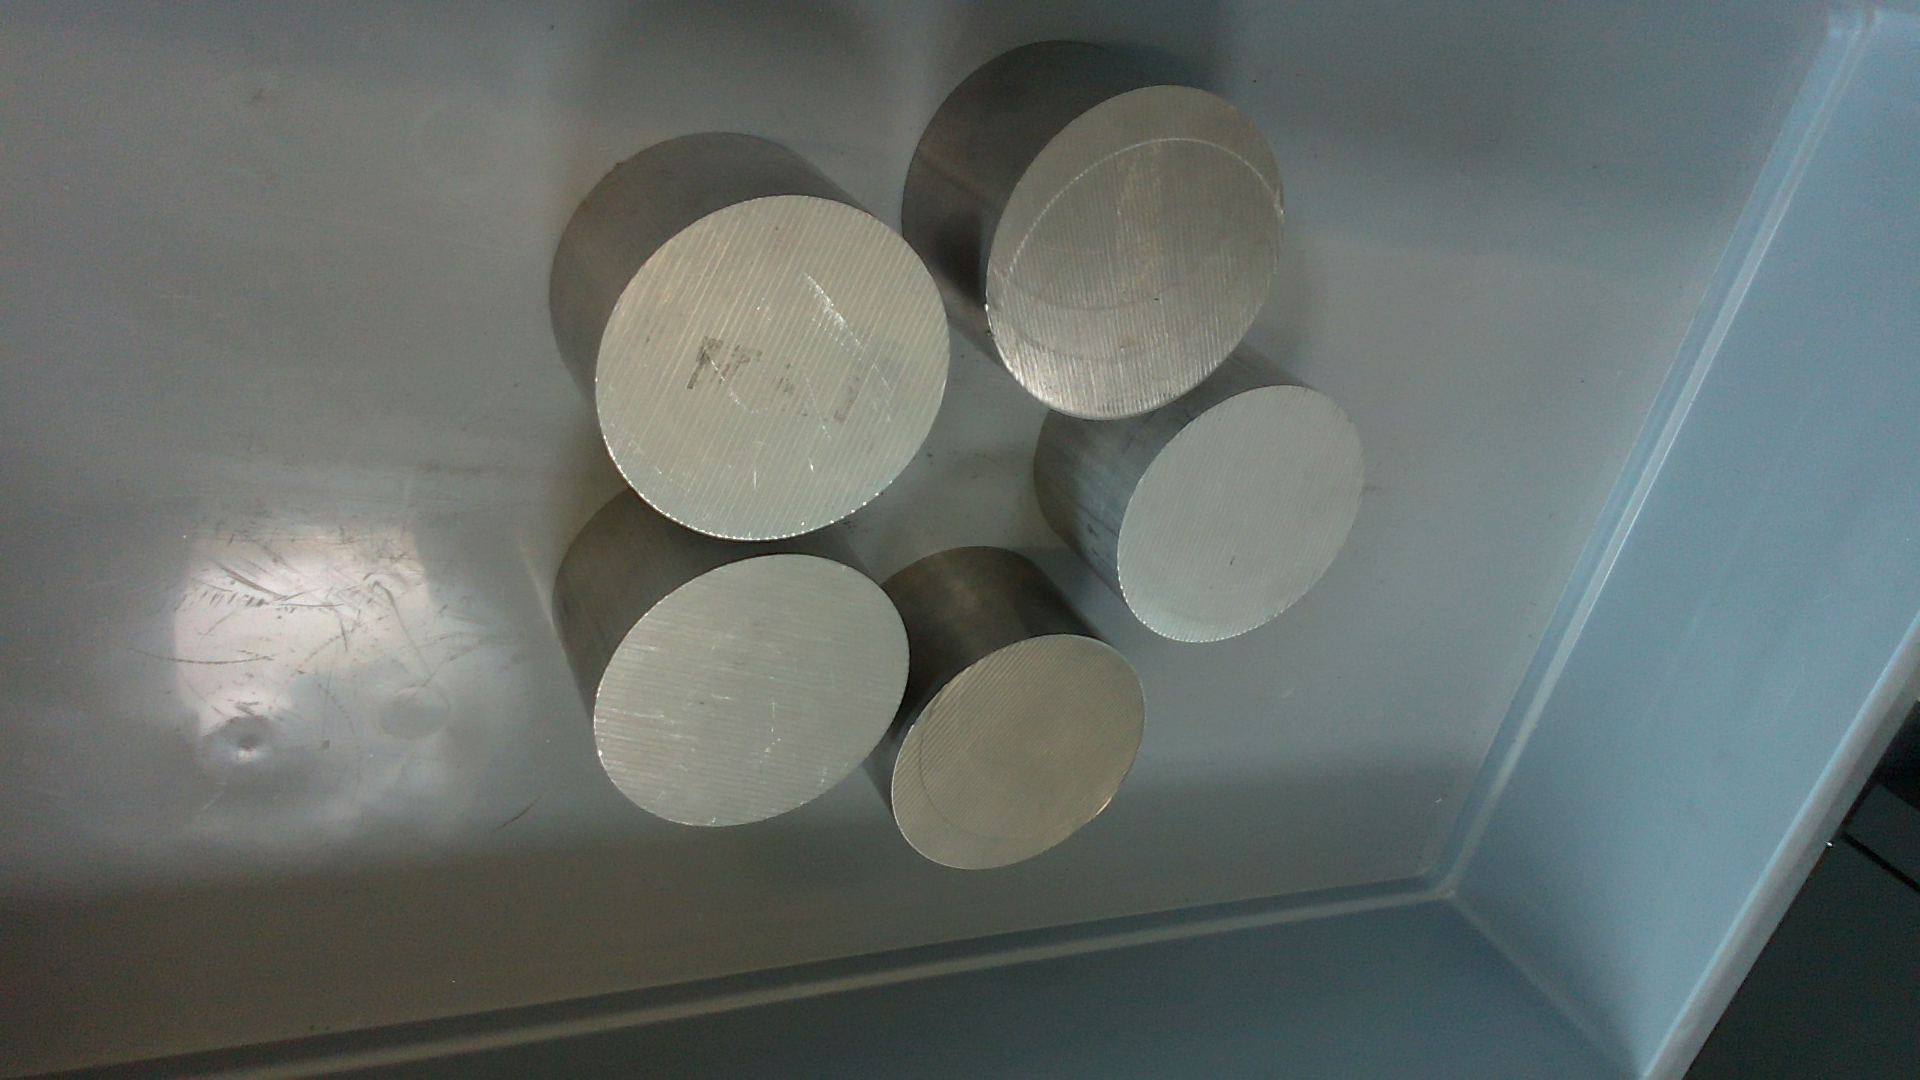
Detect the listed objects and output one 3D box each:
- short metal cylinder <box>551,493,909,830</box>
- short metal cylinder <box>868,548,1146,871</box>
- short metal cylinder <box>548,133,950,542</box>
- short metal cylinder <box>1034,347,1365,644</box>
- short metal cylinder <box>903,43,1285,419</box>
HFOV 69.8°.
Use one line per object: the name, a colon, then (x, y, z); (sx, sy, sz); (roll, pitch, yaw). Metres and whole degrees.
short metal cylinder: (-0.060, 0.027, 0.355); (0.080, 0.050, 0.080); (-14, 124, -21)
short metal cylinder: (0.007, 0.050, 0.405); (0.080, 0.050, 0.080); (-14, 124, -21)
short metal cylinder: (-0.049, -0.047, 0.316); (0.080, 0.050, 0.080); (-14, 124, -21)
short metal cylinder: (0.068, -0.017, 0.397); (0.080, 0.050, 0.080); (-14, 124, -21)
short metal cylinder: (0.032, -0.077, 0.341); (0.080, 0.050, 0.080); (-14, 124, -21)
